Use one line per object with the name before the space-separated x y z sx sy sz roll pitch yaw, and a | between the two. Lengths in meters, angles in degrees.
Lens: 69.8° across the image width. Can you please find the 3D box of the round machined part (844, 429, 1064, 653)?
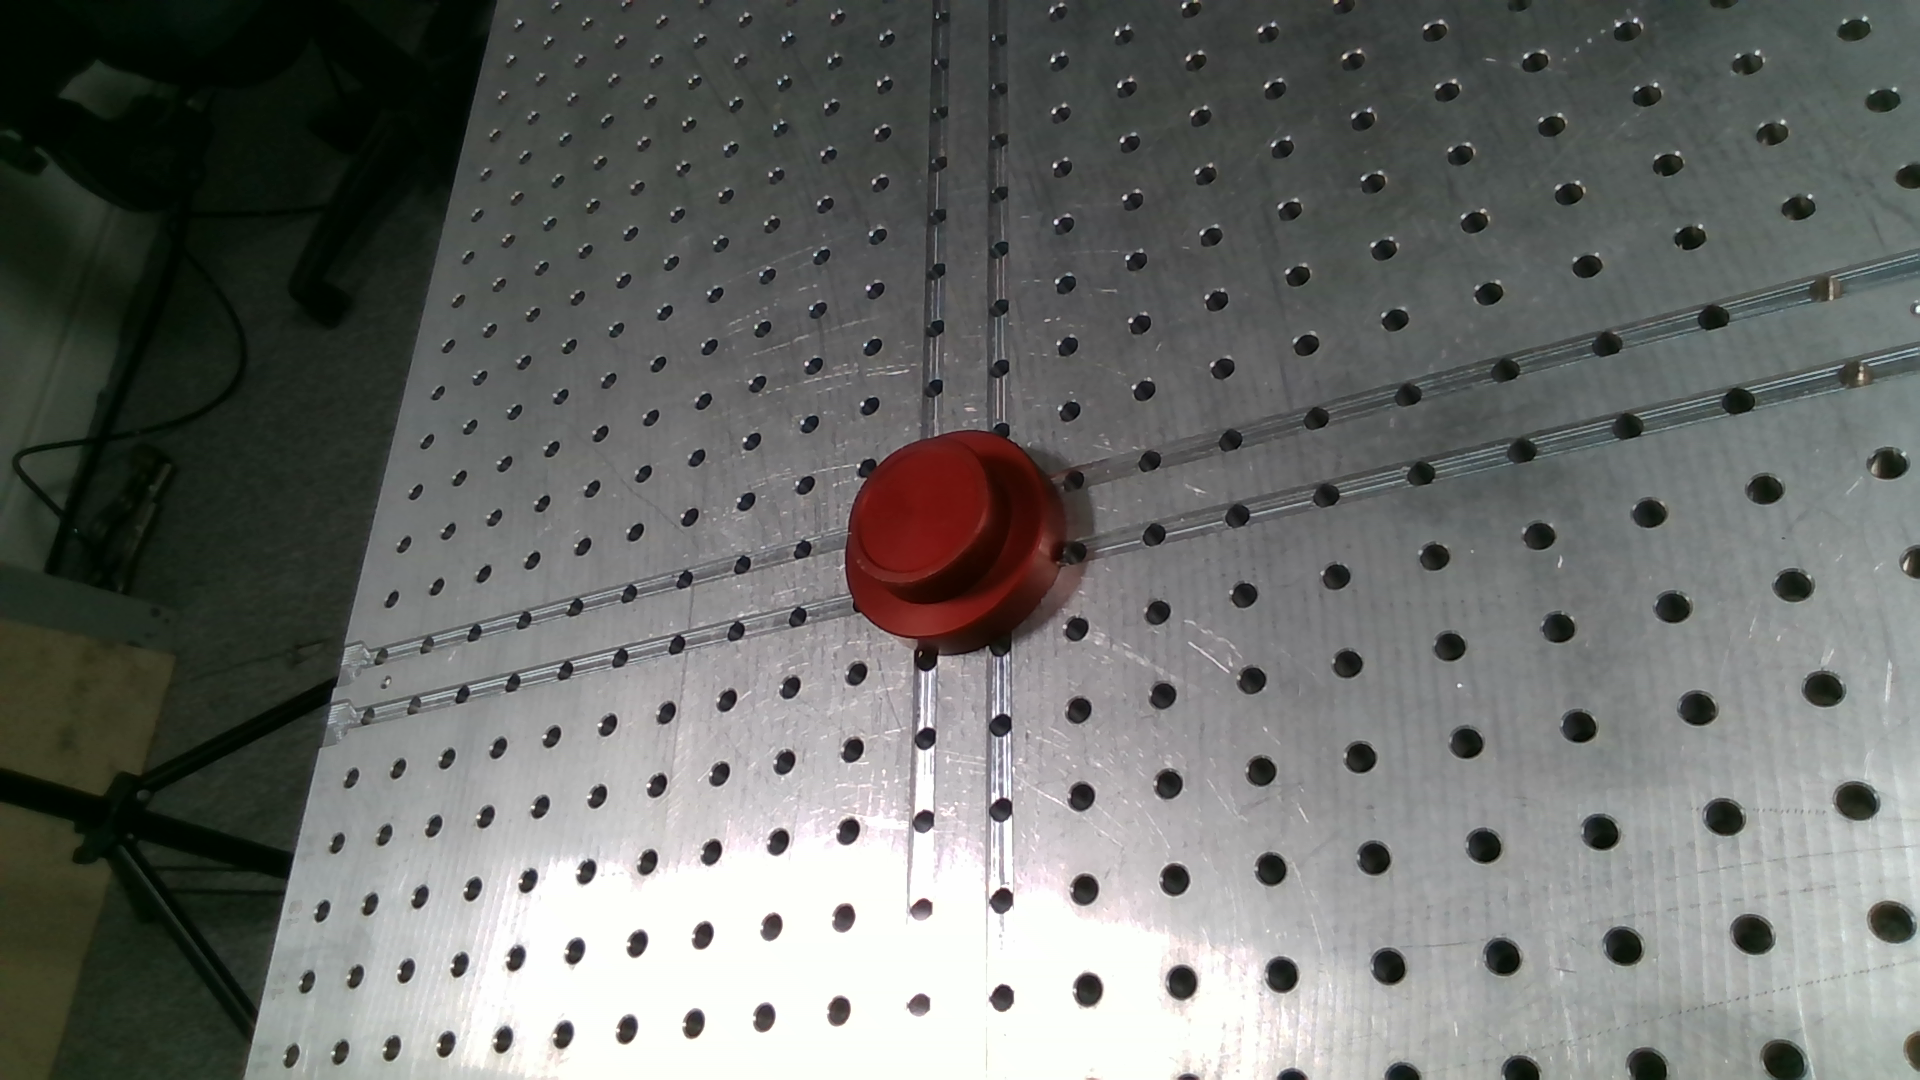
round machined part | -0.009 -0.005 0.585 0.098 0.042 0.098 -14 59 25
